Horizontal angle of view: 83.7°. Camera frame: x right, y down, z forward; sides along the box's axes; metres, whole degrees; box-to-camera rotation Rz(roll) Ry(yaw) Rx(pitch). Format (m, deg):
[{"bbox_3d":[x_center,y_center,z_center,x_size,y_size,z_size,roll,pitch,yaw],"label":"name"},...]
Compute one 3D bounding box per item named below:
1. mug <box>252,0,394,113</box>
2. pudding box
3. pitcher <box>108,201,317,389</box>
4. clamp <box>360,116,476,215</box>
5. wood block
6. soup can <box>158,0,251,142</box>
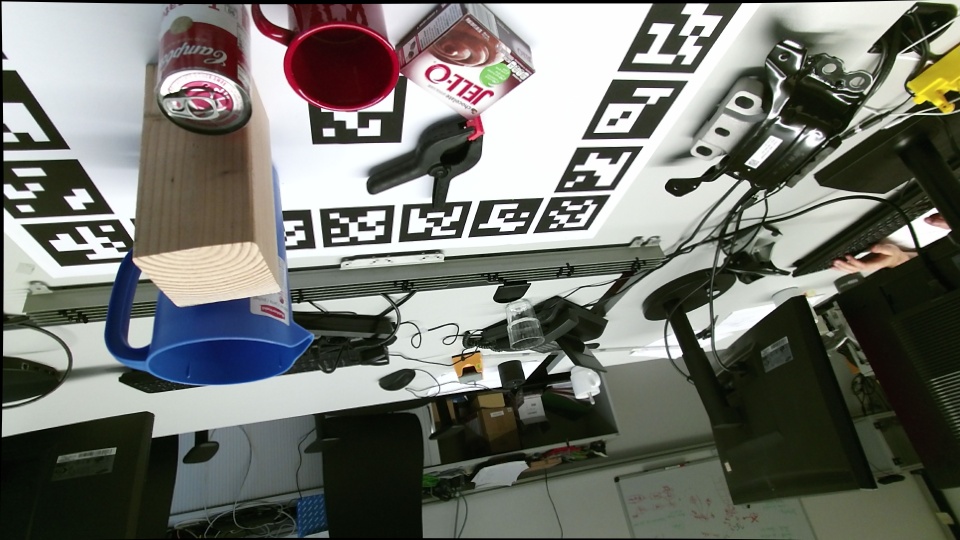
[{"bbox_3d":[-0.133,-0.194,0.446,0.093,0.081,0.117,-31,150,34],"label":"mug"},{"bbox_3d":[-0.010,-0.207,0.535,0.090,0.038,0.114,-35,147,30],"label":"pudding box"},{"bbox_3d":[-0.286,0.002,0.574,0.189,0.241,0.133,-9,155,-16],"label":"pitcher"},{"bbox_3d":[-0.060,-0.130,0.669,0.122,0.036,0.165,18,139,-35],"label":"clamp"},{"bbox_3d":[-0.244,-0.074,0.483,0.090,0.205,0.091,-5,152,-10],"label":"wood block"},{"bbox_3d":[-0.224,-0.165,0.434,0.068,0.101,0.068,-12,151,-7],"label":"soup can"}]
